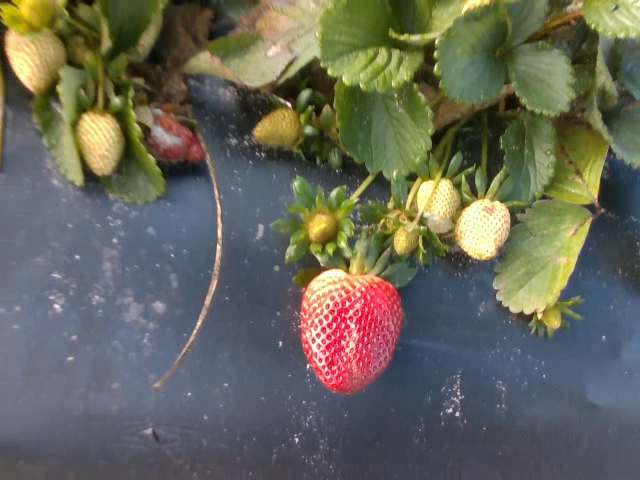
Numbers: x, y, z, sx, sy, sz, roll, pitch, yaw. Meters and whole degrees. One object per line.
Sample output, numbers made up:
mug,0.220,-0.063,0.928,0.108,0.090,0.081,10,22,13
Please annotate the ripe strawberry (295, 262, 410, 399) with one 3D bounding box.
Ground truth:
ripe strawberry,0.014,0.045,0.302,0.052,0.068,0.045,13,-39,-9
